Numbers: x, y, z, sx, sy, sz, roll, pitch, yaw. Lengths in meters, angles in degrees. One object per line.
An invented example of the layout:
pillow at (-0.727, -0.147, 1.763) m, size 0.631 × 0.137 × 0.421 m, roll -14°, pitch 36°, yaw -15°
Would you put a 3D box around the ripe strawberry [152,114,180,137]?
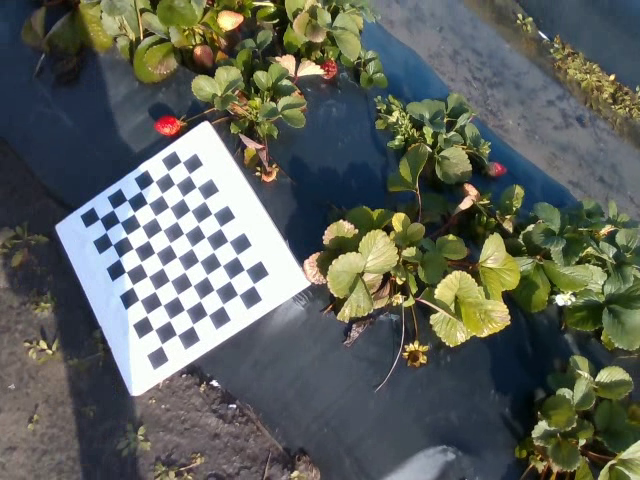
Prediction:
ripe strawberry at (-0.199, -0.147, 0.822) m, size 0.037 × 0.035 × 0.033 m, roll -11°, pitch -31°, yaw -43°
